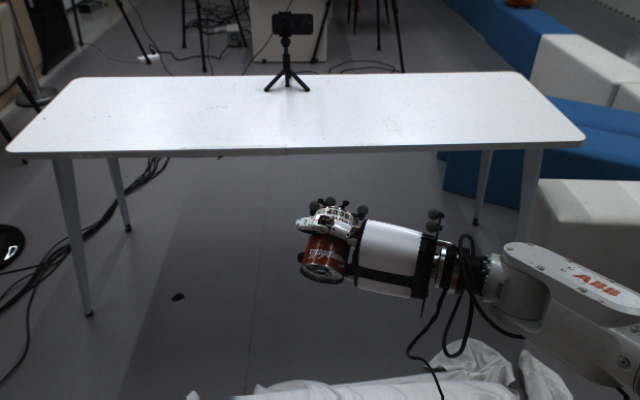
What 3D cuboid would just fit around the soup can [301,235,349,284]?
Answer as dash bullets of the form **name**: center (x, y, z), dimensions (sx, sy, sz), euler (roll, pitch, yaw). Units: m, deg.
- **soup can**: center (0.014, 0.067, 0.734), dimensions (0.067, 0.067, 0.101), euler (9, 58, 10)
